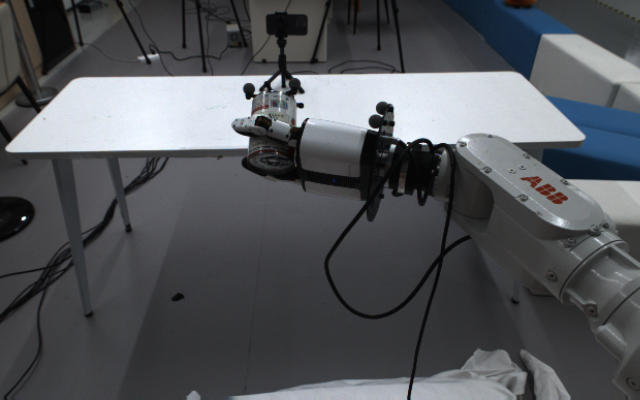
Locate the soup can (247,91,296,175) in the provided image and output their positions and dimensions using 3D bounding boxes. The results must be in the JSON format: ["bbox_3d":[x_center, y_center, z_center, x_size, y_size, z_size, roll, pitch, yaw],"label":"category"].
[{"bbox_3d":[-0.067,-0.096,0.689,0.067,0.067,0.101,1,68,-1],"label":"soup can"}]
